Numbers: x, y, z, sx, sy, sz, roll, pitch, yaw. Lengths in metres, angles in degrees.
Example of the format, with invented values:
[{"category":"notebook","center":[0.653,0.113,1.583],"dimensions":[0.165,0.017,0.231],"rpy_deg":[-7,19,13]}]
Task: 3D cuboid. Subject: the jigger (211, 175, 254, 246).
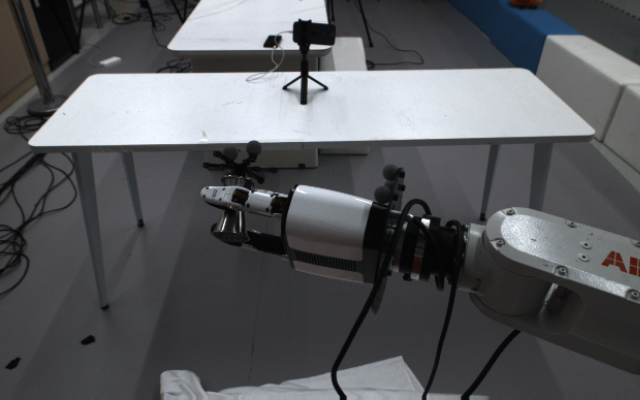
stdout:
[{"category":"jigger","center":[-0.100,0.010,0.558],"dimensions":[0.043,0.043,0.071],"rpy_deg":[5,71,4]}]
